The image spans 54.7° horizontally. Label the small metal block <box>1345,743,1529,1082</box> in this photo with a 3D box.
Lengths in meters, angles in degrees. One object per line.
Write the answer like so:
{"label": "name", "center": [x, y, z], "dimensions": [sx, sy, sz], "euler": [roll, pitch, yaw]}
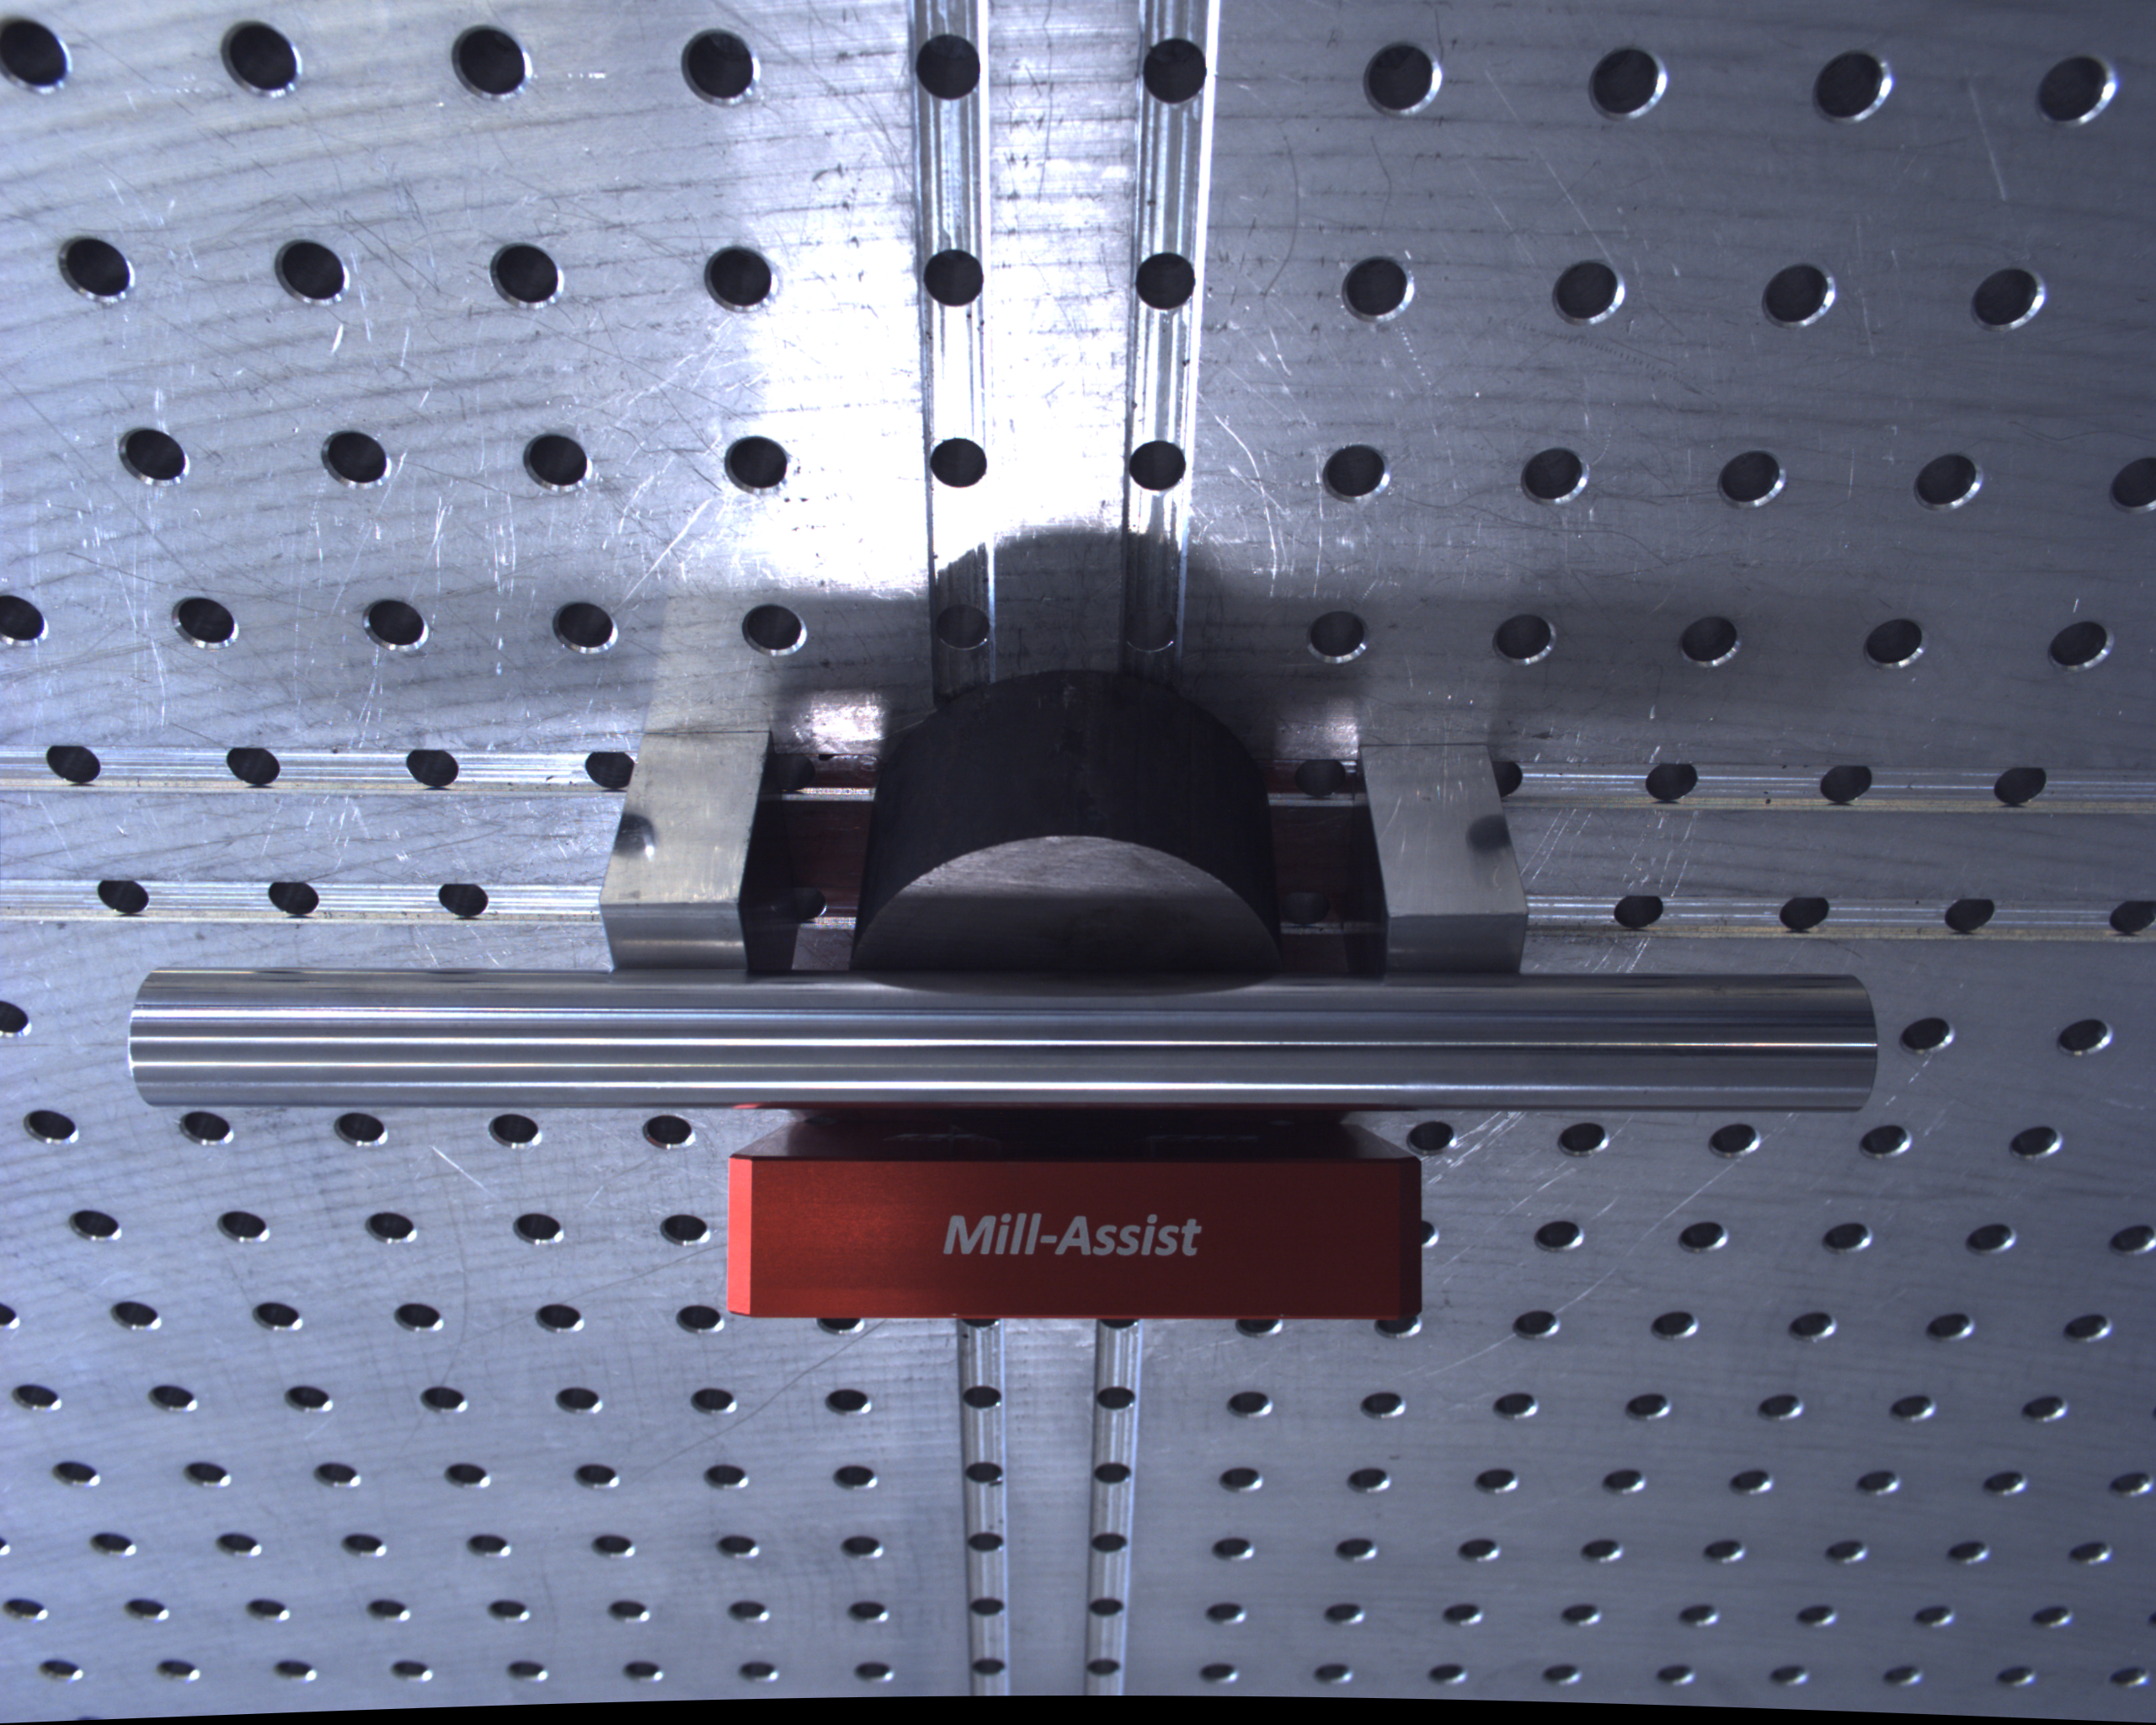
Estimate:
{"label": "small metal block", "center": [0.068, 0.012, 0.406], "dimensions": [0.025, 0.050, 0.050], "euler": [-1, 130, 0]}

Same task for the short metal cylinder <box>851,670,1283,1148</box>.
{"label": "short metal cylinder", "center": [-0.002, 0.010, 0.403], "dimensions": [0.081, 0.050, 0.079], "euler": [0, 130, 0]}

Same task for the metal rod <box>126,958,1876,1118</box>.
{"label": "metal rod", "center": [-0.013, 0.031, 0.372], "dimensions": [0.302, 0.025, 0.025], "euler": [1, 130, -1]}

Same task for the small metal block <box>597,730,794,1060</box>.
{"label": "small metal block", "center": [-0.072, 0.009, 0.403], "dimensions": [0.025, 0.050, 0.050], "euler": [-1, 130, 0]}

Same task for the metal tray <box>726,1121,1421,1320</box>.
{"label": "metal tray", "center": [-0.001, 0.072, 0.433], "dimensions": [0.131, 0.090, 0.030], "euler": [0, 87, -1]}
